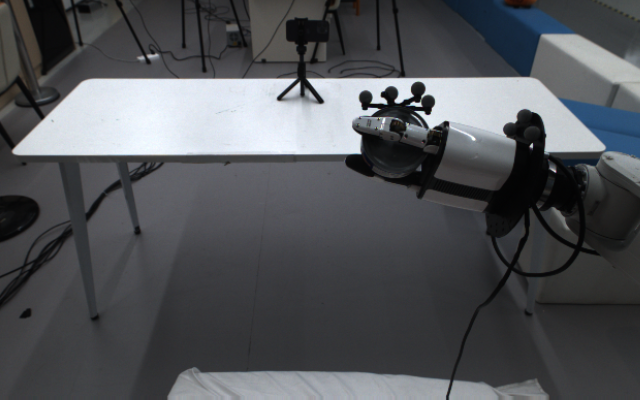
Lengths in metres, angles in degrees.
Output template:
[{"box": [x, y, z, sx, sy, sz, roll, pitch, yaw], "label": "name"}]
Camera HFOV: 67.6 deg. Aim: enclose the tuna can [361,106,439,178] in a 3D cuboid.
[{"box": [0.094, -0.073, 0.606, 0.085, 0.034, 0.085, 0, 74, 0], "label": "tuna can"}]
